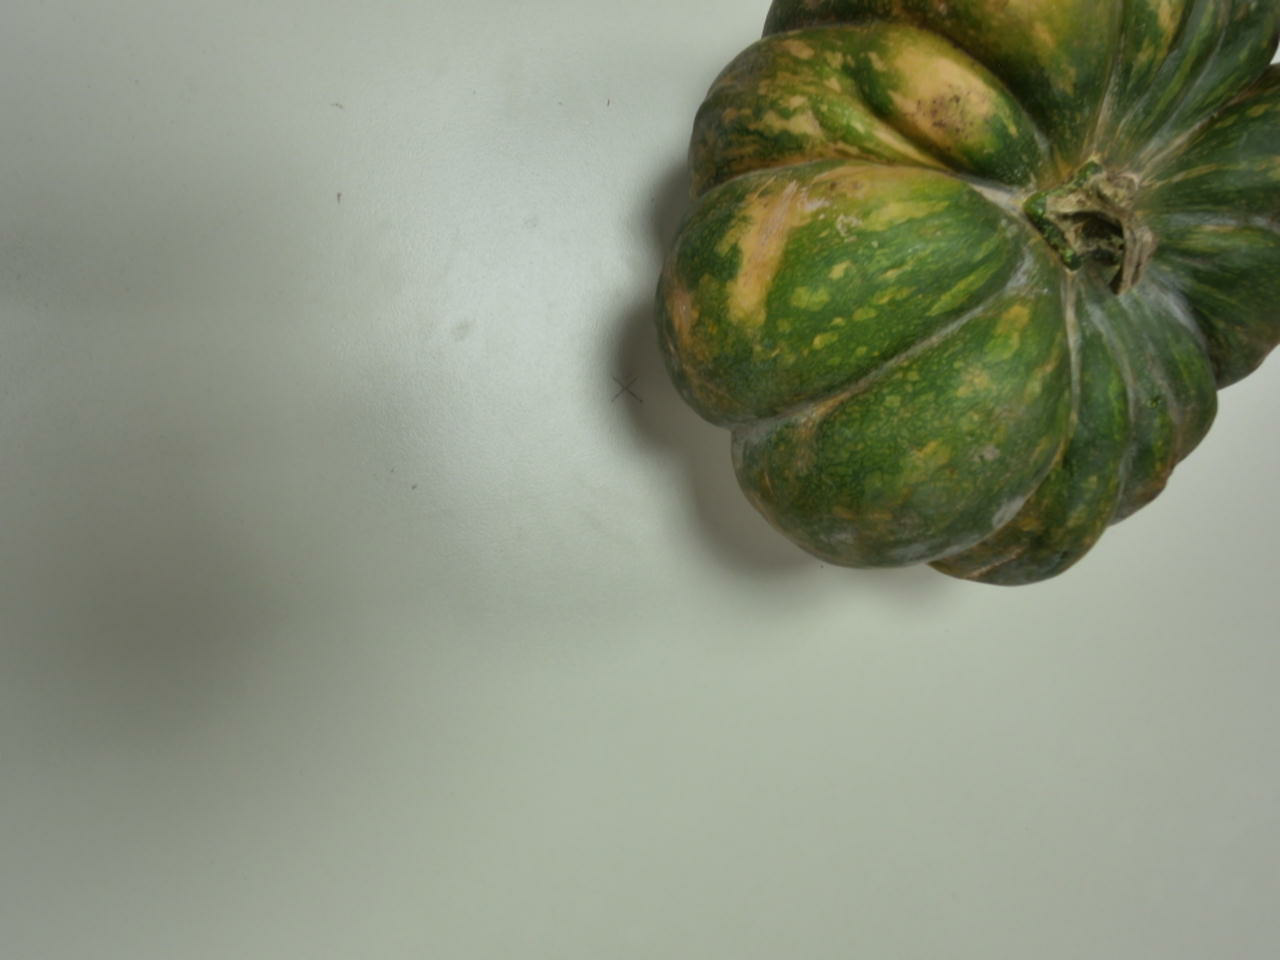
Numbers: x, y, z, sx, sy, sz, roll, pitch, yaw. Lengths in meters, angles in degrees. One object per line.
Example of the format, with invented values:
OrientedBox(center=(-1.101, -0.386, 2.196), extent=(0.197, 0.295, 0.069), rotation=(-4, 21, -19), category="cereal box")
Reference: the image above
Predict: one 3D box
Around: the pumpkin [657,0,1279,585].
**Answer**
OrientedBox(center=(0.133, -0.089, 0.376), extent=(0.237, 0.173, 0.270), rotation=(28, 85, -11), category="pumpkin")
